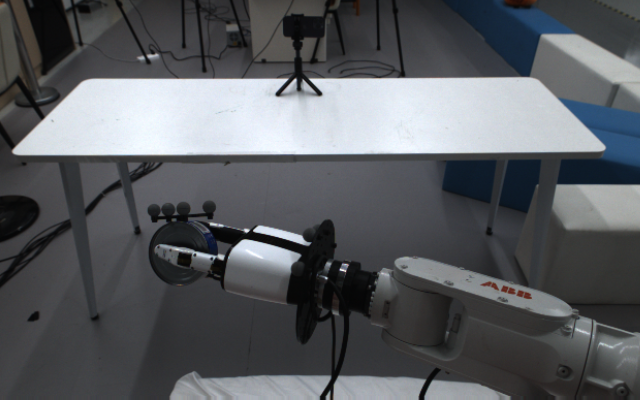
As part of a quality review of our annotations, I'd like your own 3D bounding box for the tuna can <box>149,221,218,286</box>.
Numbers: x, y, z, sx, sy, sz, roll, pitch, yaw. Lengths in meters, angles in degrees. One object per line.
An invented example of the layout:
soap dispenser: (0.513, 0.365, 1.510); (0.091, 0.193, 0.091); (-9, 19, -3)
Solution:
tuna can: (-0.176, 0.072, 0.647); (0.085, 0.085, 0.034); (10, 2, 11)
